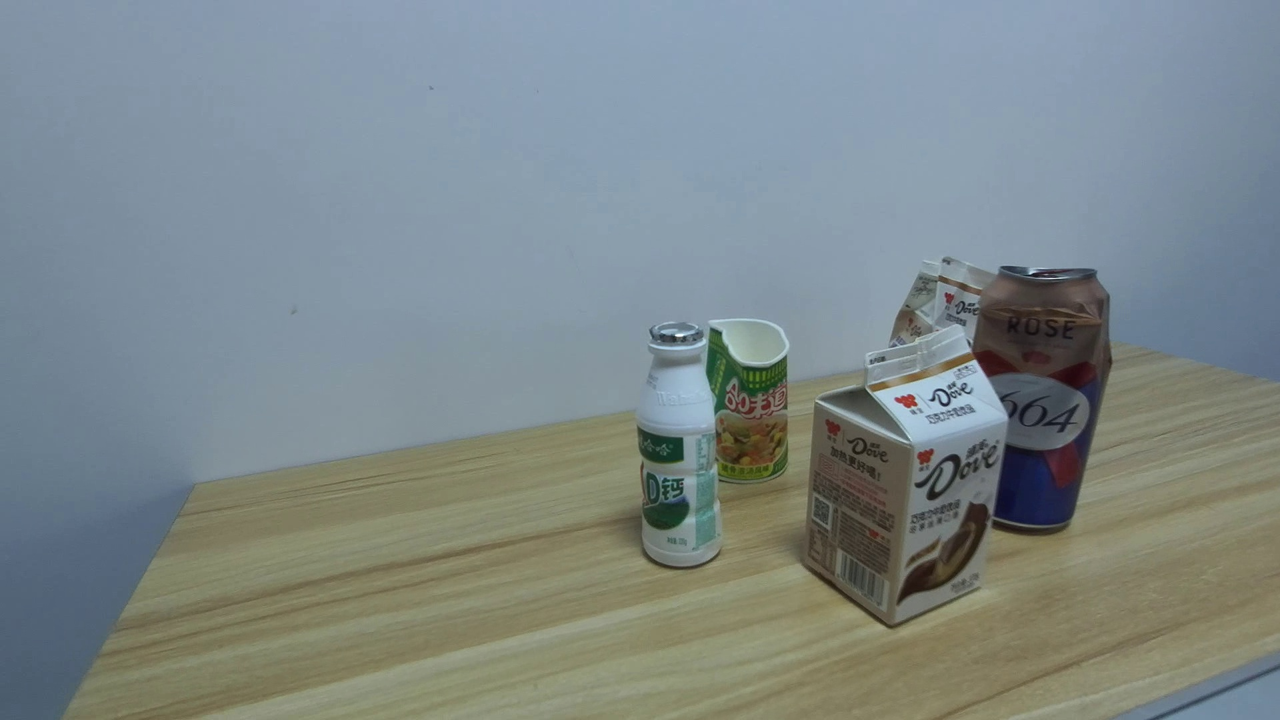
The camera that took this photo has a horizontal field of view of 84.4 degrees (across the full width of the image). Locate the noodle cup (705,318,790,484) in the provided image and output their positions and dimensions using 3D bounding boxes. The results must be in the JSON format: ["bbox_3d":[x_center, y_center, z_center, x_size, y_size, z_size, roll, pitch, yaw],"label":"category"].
[{"bbox_3d":[0.080,0.032,0.539,0.070,0.111,0.115,3,18,15],"label":"noodle cup"}]

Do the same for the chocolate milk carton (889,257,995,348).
[{"bbox_3d":[0.256,-0.013,0.584,0.076,0.155,0.073,-5,22,-7],"label":"chocolate milk carton"}]

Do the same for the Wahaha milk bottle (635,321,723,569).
[{"bbox_3d":[0.025,0.051,0.428,0.056,0.147,0.056,-2,16,1],"label":"Wahaha milk bottle"}]

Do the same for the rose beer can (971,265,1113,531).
[{"bbox_3d":[0.254,0.024,0.457,0.065,0.167,0.075,-16,20,-39],"label":"rose beer can"}]

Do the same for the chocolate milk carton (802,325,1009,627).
[{"bbox_3d":[0.146,0.056,0.391,0.076,0.148,0.073,-10,21,-26],"label":"chocolate milk carton"}]
